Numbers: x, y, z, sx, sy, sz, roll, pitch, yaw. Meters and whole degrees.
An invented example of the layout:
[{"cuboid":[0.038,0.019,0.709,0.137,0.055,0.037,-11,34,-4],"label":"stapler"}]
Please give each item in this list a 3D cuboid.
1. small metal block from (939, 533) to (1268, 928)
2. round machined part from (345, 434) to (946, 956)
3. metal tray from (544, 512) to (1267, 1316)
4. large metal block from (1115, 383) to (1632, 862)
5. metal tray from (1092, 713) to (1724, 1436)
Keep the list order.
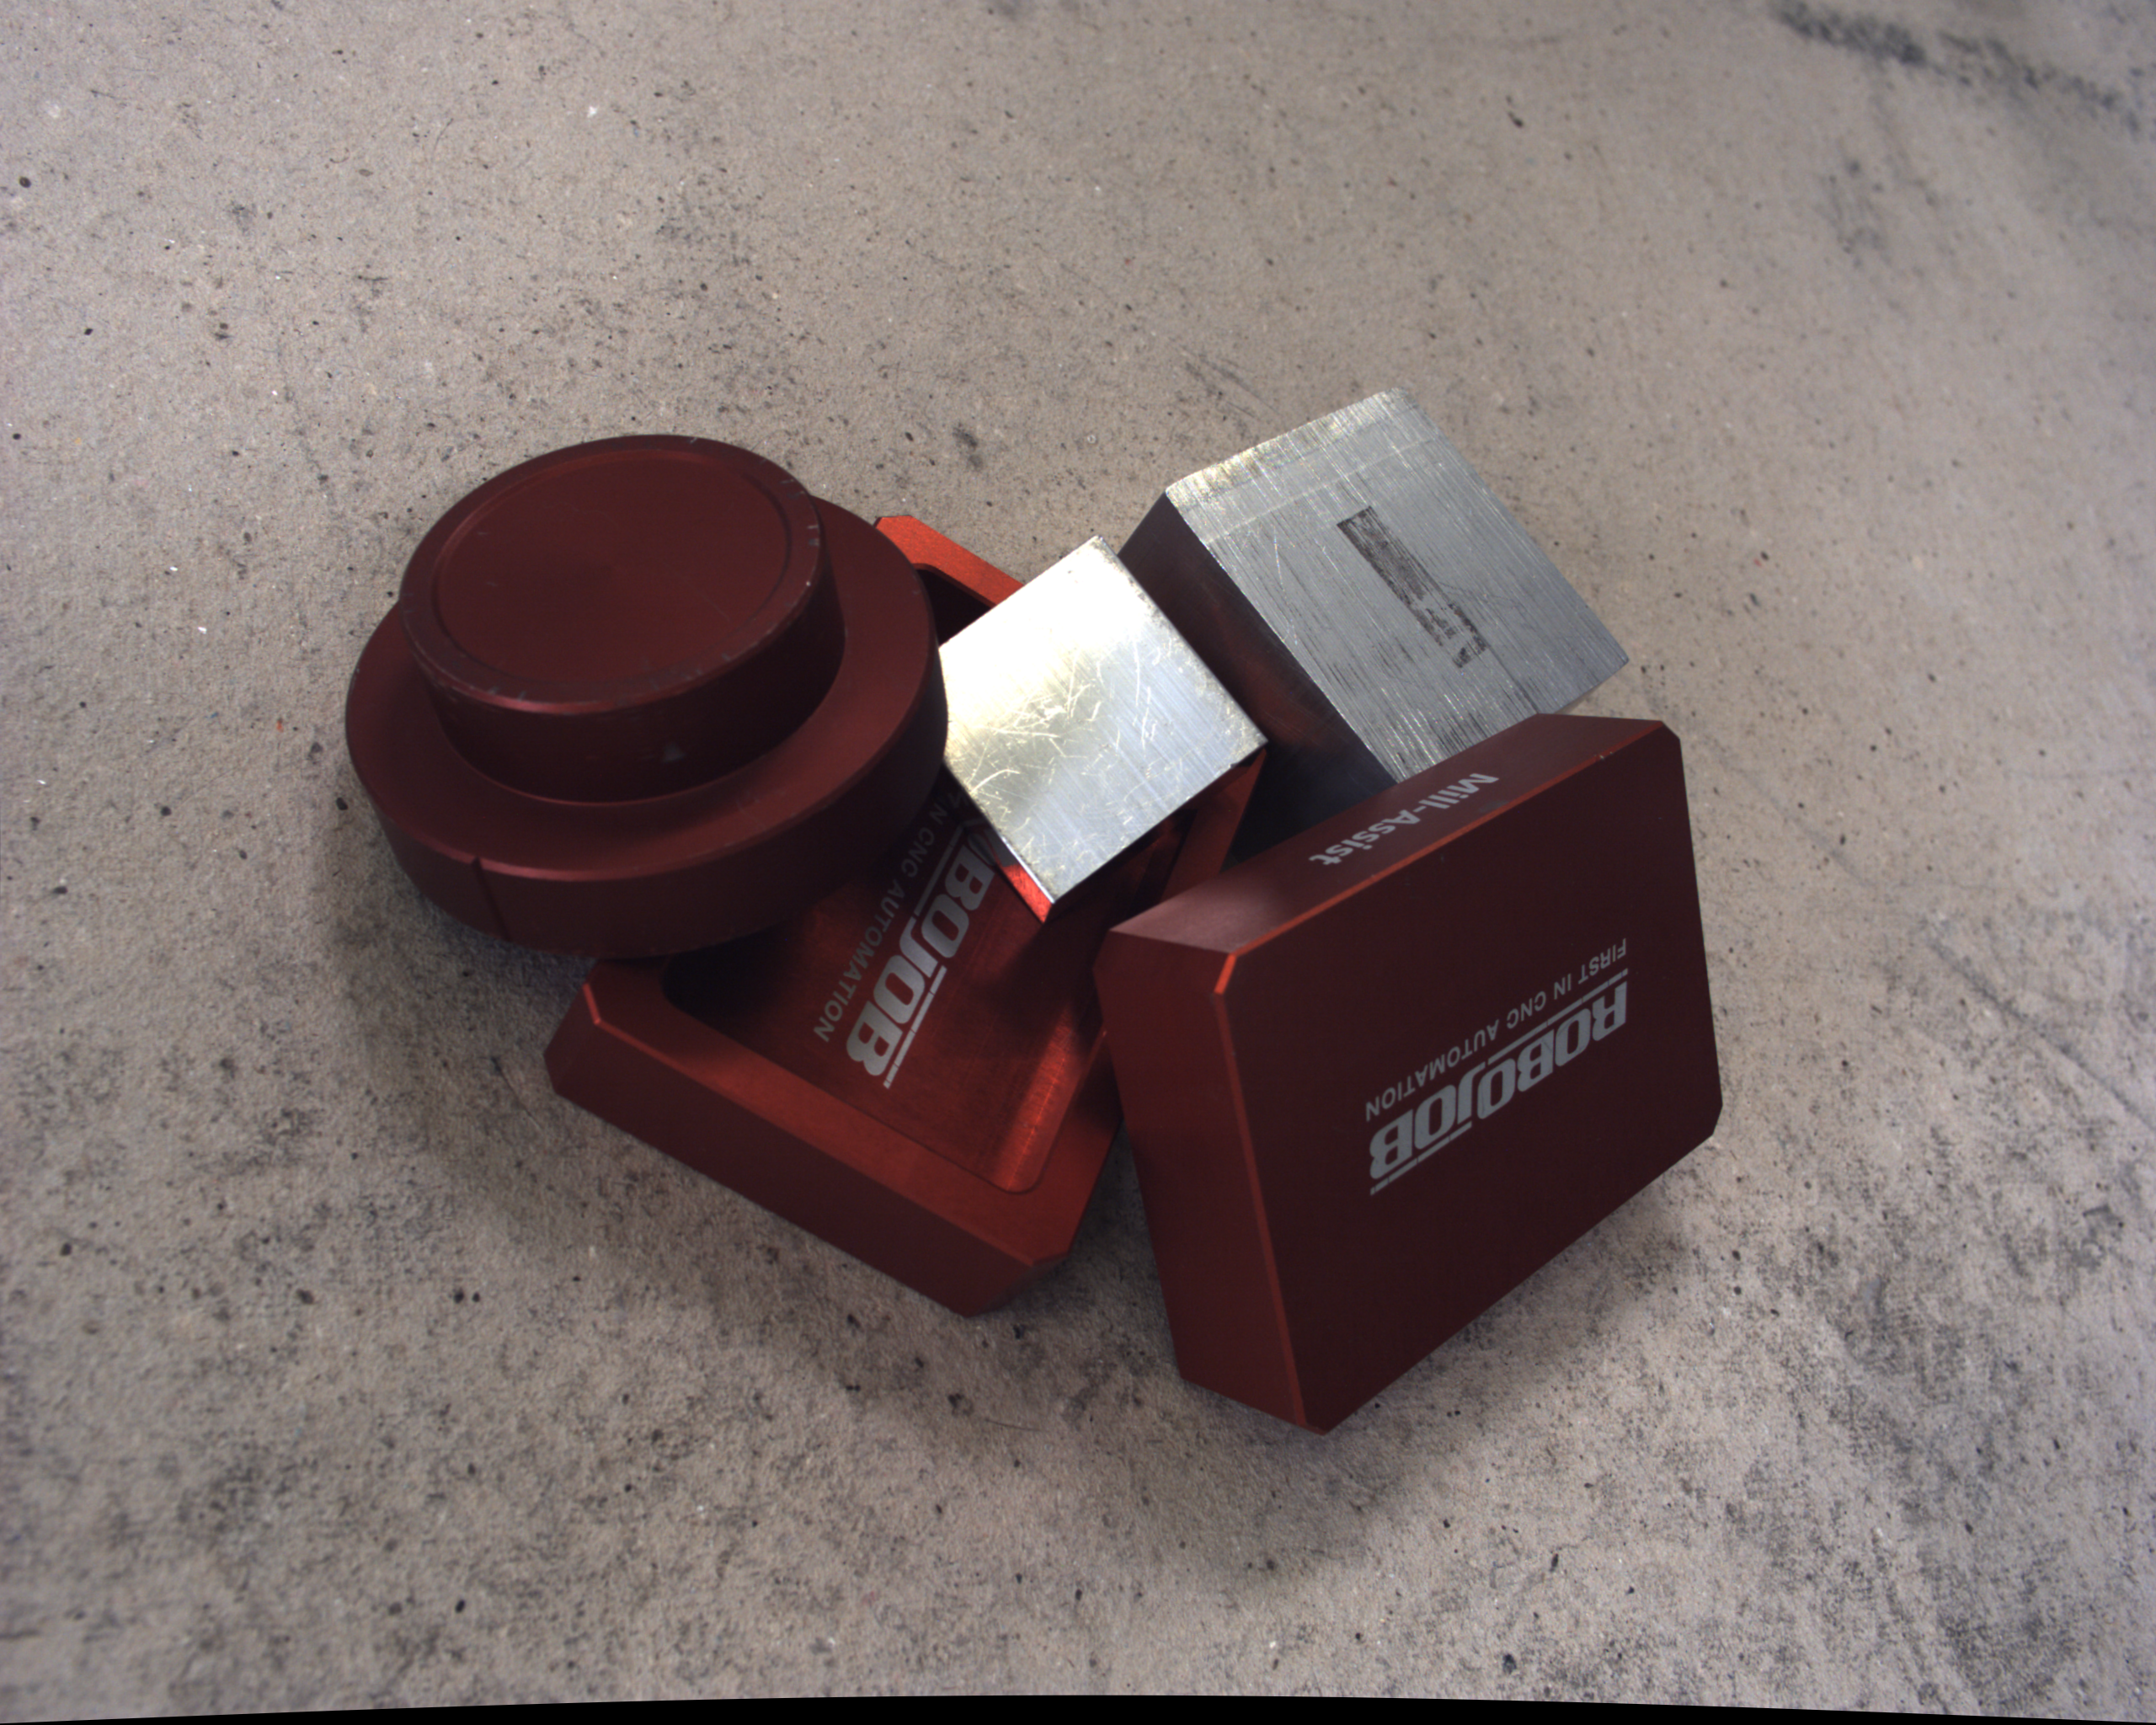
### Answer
[{"cuboid":[-0.002,-0.024,0.390,0.050,0.025,0.050,-38,85,-11],"label":"small metal block"},{"cuboid":[-0.073,-0.035,0.349,0.099,0.042,0.098,-2,48,3],"label":"round machined part"},{"cuboid":[-0.026,0.005,0.384,0.090,0.030,0.130,31,52,-9],"label":"metal tray"},{"cuboid":[0.057,-0.047,0.449,0.081,0.050,0.080,-30,79,-38],"label":"large metal block"},{"cuboid":[0.067,0.034,0.388,0.131,0.030,0.089,-25,112,-36],"label":"metal tray"}]
